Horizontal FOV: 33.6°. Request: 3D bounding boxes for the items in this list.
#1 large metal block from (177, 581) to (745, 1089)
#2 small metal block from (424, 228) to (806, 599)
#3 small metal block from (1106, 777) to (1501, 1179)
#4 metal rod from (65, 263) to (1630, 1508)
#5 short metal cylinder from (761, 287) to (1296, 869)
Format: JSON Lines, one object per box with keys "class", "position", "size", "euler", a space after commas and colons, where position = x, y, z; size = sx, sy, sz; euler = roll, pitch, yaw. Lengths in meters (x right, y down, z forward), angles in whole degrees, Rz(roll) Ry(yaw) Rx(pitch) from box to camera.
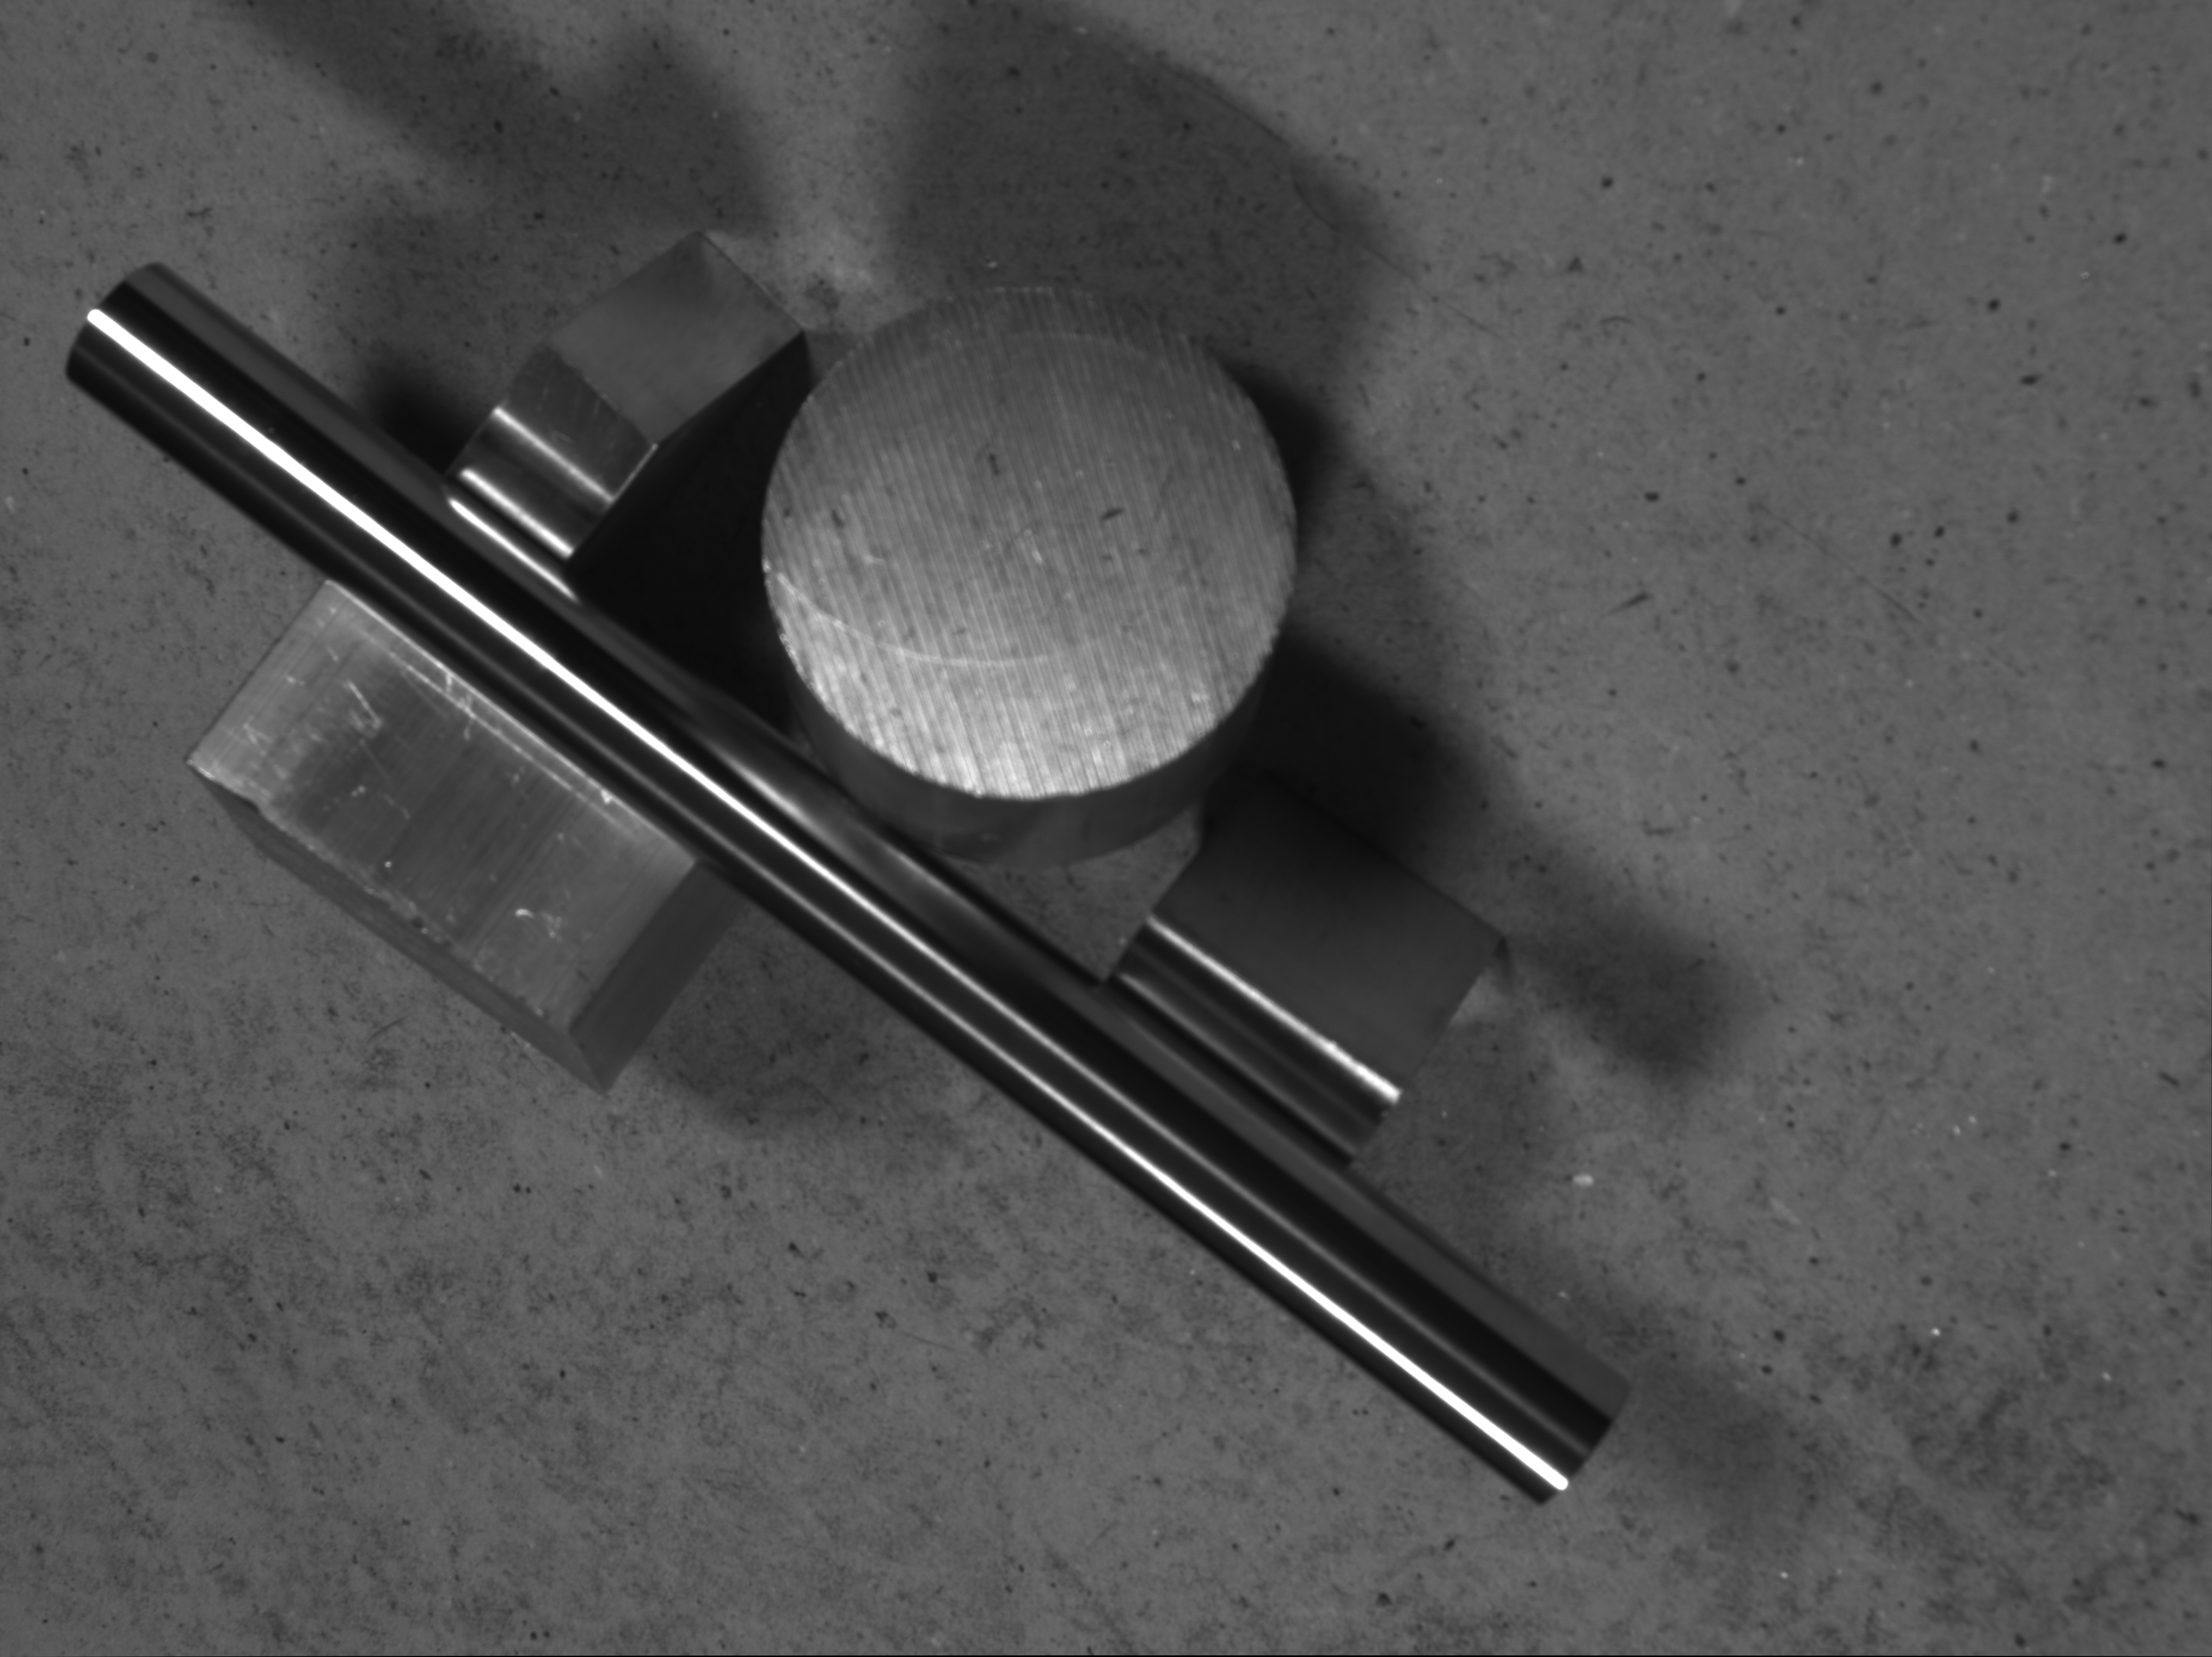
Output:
{"class": "large metal block", "position": [-0.109, -0.001, 0.647], "size": [0.080, 0.050, 0.080], "euler": [35, 168, 4]}
{"class": "small metal block", "position": [-0.084, -0.068, 0.617], "size": [0.025, 0.050, 0.050], "euler": [43, 128, -3]}
{"class": "small metal block", "position": [0.032, 0.026, 0.611], "size": [0.050, 0.050, 0.025], "euler": [35, 128, 4]}
{"class": "metal rod", "position": [-0.043, 0.008, 0.594], "size": [0.300, 0.025, 0.025], "euler": [37, 128, 2]}
{"class": "short metal cylinder", "position": [-0.012, -0.038, 0.572], "size": [0.080, 0.080, 0.050], "euler": [34, 169, 5]}
